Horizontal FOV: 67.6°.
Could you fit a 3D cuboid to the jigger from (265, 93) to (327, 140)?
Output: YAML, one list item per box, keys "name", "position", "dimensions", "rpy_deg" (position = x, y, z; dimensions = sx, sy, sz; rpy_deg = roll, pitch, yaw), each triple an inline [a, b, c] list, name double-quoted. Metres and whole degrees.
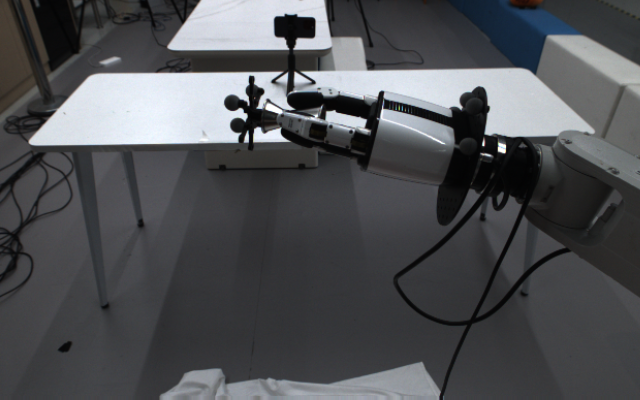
- name: "jigger"
  position: [-0.023, -0.098, 0.565]
  dimensions: [0.071, 0.043, 0.043]
  rpy_deg: [7, 35, 7]
